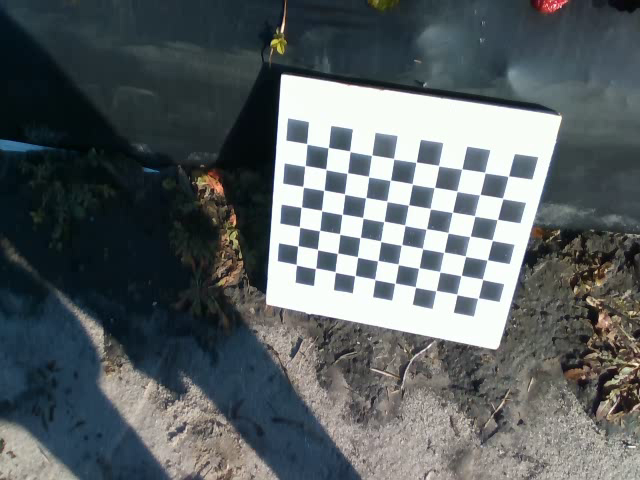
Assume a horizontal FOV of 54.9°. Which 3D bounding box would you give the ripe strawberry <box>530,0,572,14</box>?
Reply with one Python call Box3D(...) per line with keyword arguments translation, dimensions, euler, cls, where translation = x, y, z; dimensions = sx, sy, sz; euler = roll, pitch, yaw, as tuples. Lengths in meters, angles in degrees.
Box3D(translation=(0.192, -0.199, 0.520), dimensions=(0.042, 0.050, 0.043), euler=(41, -25, -9), cls="ripe strawberry")
